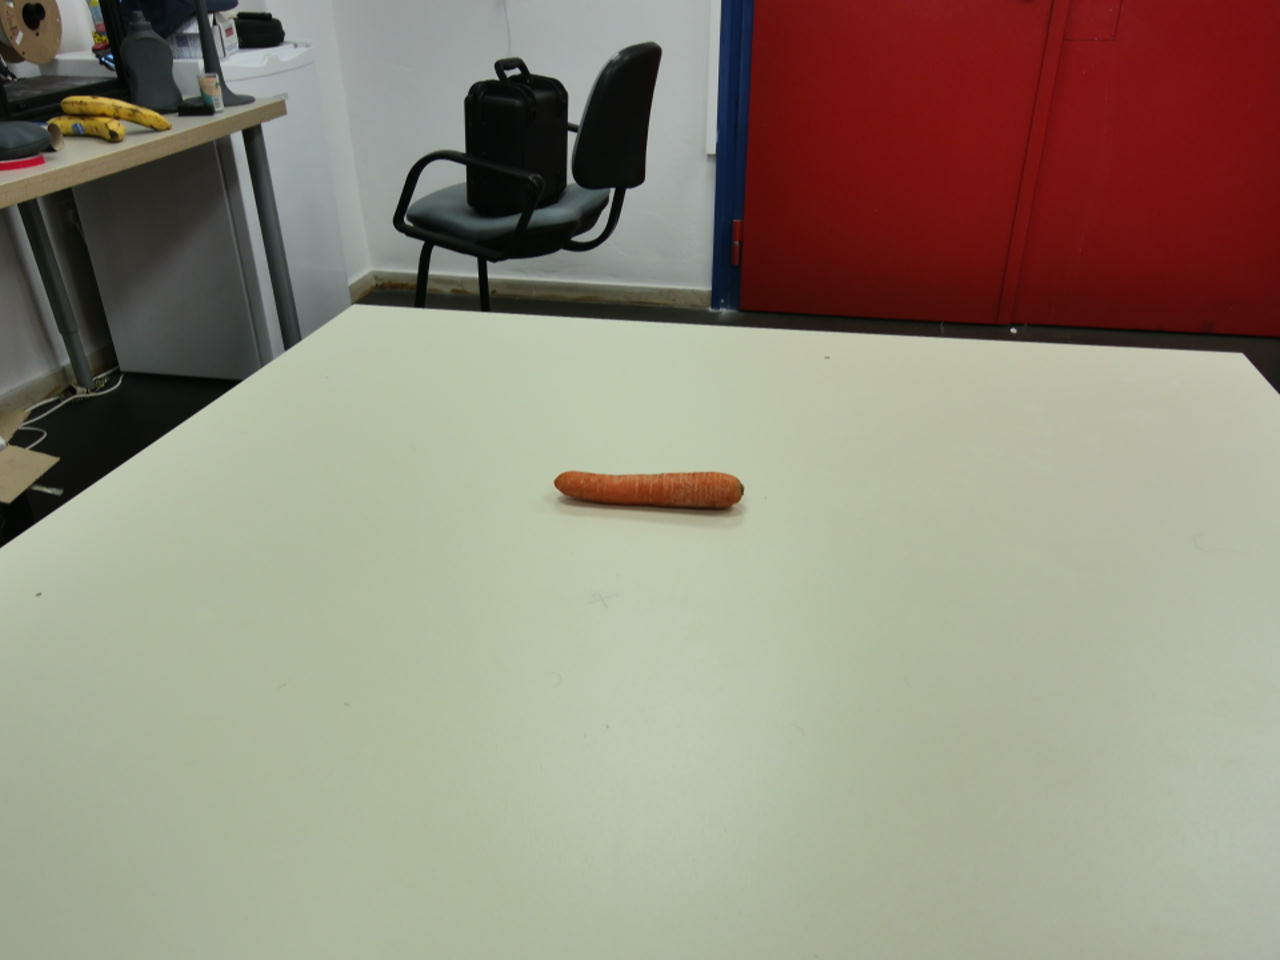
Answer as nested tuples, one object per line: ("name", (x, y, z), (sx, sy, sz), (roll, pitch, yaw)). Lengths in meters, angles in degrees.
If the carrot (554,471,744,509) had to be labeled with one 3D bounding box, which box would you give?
("carrot", (0.005, 0.004, 0.636), (0.122, 0.023, 0.024), (4, 26, 8))
